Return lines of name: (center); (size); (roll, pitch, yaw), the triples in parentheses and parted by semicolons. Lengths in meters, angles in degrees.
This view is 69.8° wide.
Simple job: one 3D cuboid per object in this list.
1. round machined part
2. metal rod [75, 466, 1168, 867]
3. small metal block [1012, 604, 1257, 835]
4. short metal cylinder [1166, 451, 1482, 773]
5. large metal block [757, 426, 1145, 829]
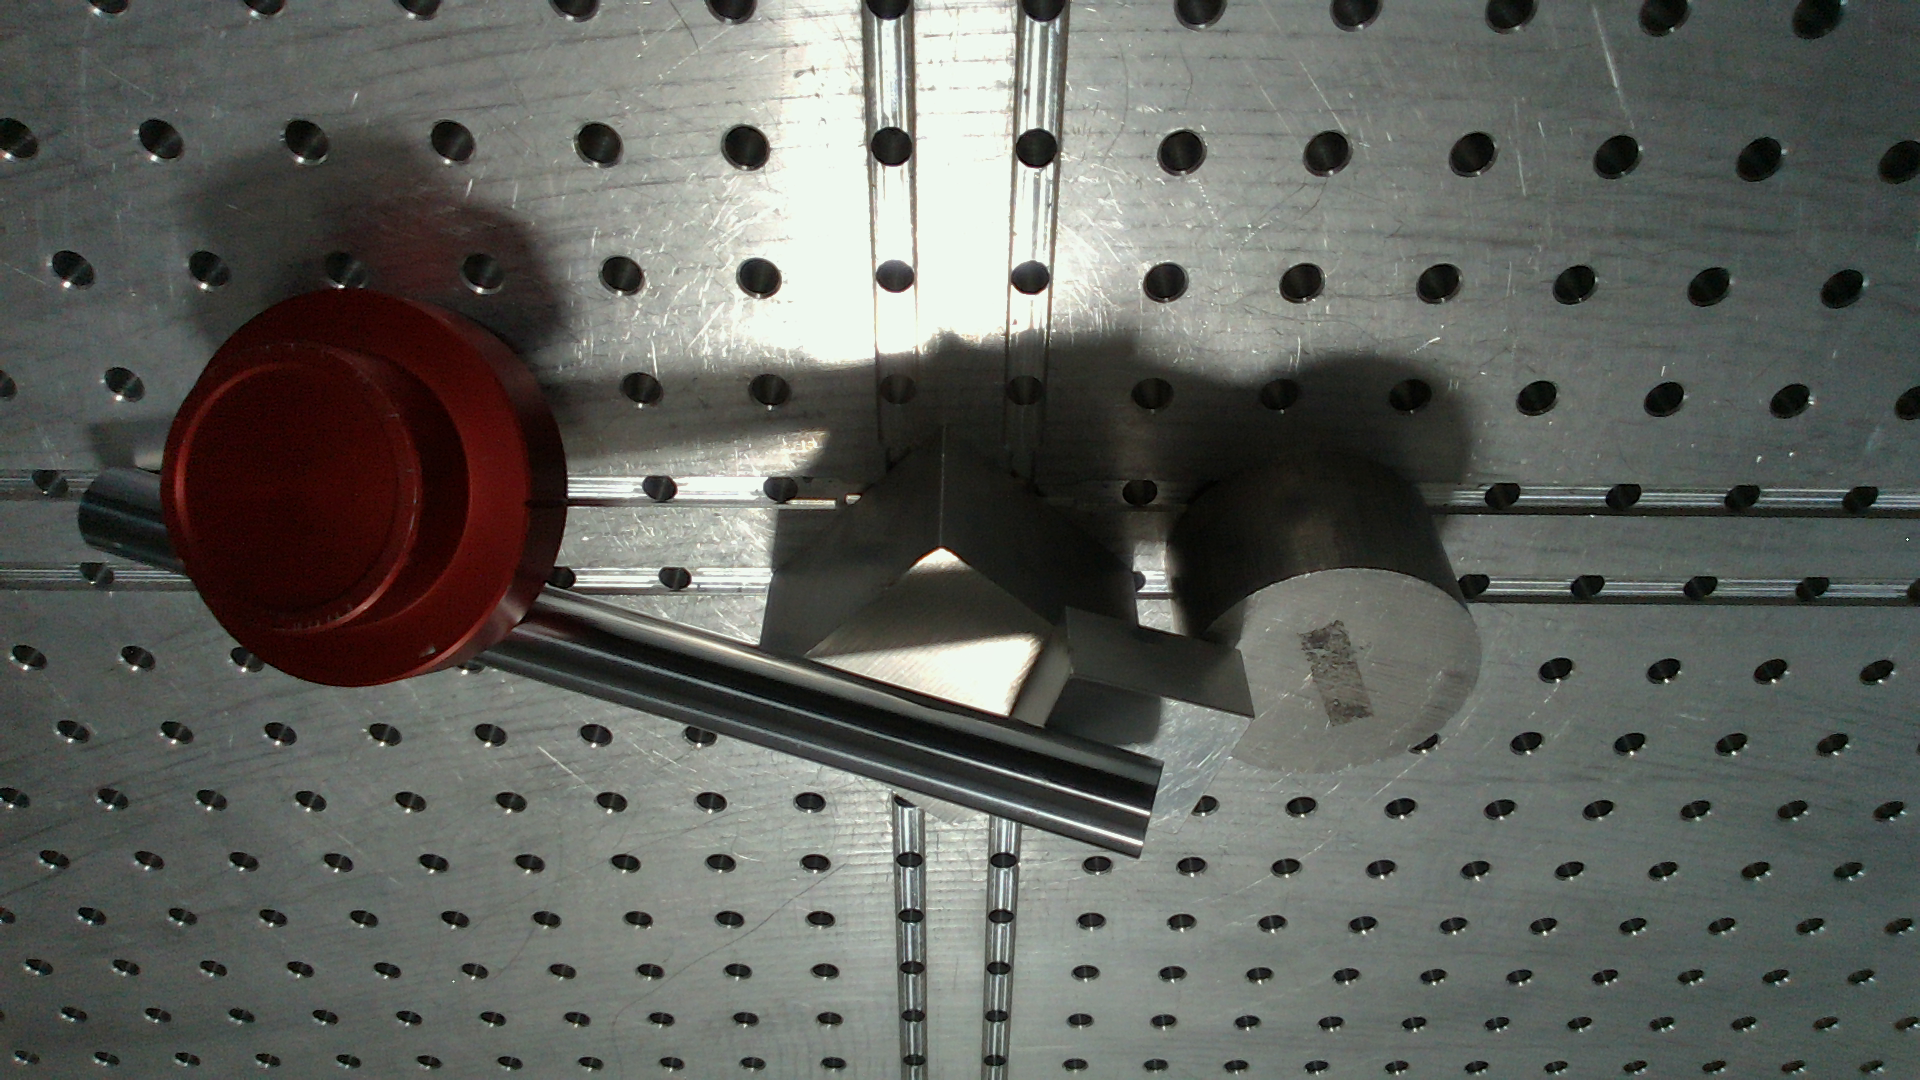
round machined part: (-0.151, -0.012, 0.336); (0.098, 0.042, 0.098); (0, 92, 11)
metal rod: (-0.095, 0.030, 0.361); (0.300, 0.025, 0.025); (15, 131, 10)
small metal block: (0.044, 0.049, 0.367); (0.050, 0.025, 0.050); (14, 129, -12)
short metal cylinder: (0.102, 0.022, 0.396); (0.080, 0.050, 0.080); (0, 130, 0)
large metal block: (-0.003, 0.028, 0.398); (0.080, 0.050, 0.080); (36, 121, -27)
